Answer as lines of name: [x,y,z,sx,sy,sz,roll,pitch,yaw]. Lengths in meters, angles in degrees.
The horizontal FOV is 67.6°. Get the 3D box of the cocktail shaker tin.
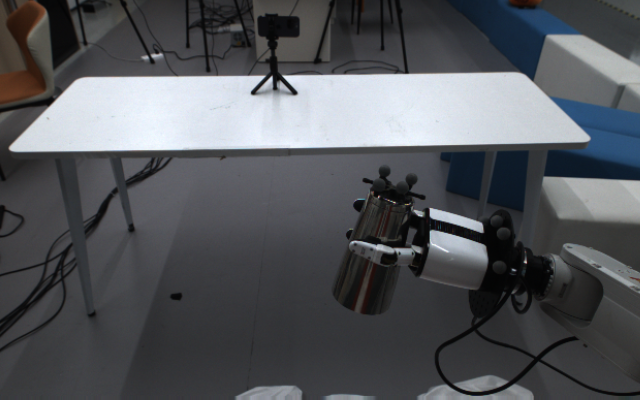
cocktail shaker tin: [0.082,0.067,0.700,0.093,0.170,0.093,12,22,-5]
